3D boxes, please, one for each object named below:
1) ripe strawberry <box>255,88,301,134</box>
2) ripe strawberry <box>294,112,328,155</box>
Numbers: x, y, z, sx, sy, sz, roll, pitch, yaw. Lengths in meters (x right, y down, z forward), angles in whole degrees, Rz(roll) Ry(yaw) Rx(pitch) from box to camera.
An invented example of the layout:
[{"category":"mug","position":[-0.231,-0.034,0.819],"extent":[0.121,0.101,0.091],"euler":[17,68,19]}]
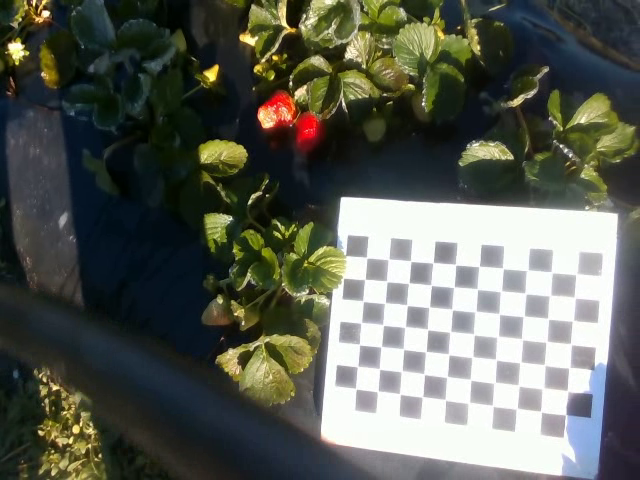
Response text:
[{"category":"ripe strawberry","position":[-0.061,-0.179,0.847],"extent":[0.069,0.053,0.040],"euler":[-39,-3,0]},{"category":"ripe strawberry","position":[-0.018,-0.153,0.826],"extent":[0.043,0.059,0.040],"euler":[4,-8,12]}]
